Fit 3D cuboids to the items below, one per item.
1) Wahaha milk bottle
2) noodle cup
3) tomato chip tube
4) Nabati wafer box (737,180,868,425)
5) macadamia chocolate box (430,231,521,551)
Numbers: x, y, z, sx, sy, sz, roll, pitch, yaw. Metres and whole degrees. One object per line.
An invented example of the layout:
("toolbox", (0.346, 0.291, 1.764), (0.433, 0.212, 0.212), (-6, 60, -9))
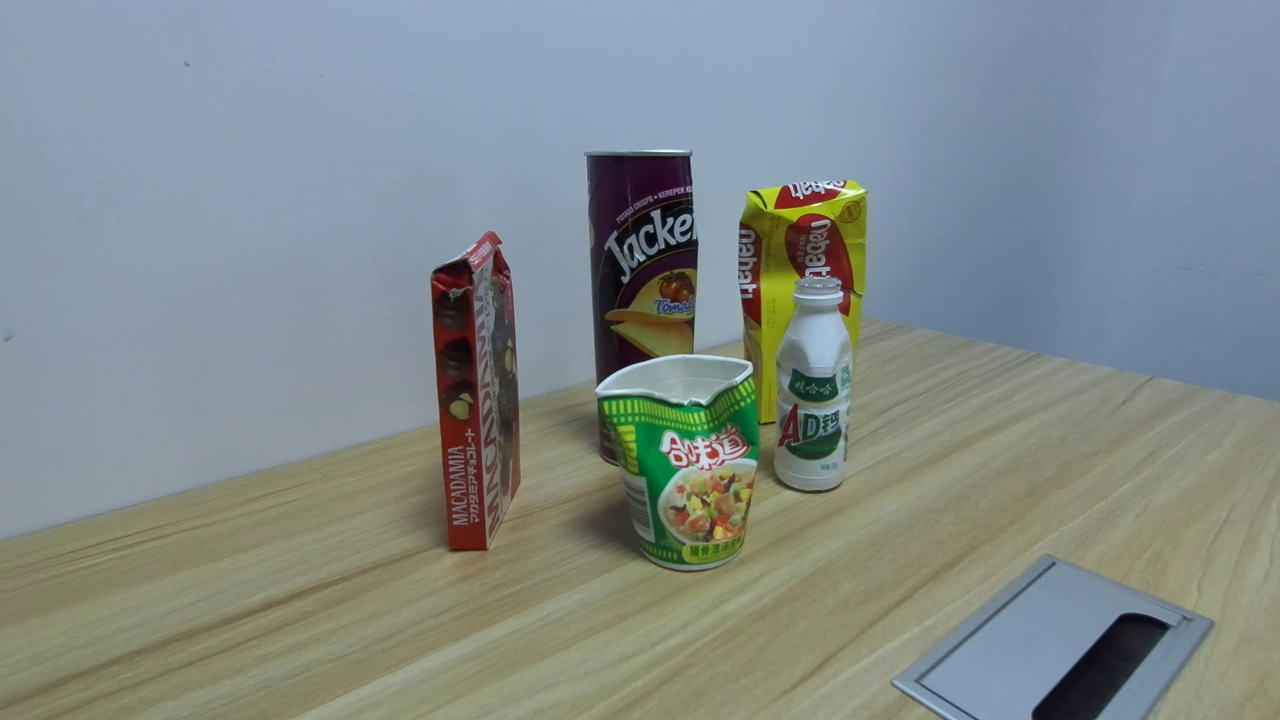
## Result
("Wahaha milk bottle", (0.121, 0.017, 0.496), (0.055, 0.149, 0.055), (-1, 19, 1))
("noodle cup", (0.032, 0.061, 0.433), (0.082, 0.122, 0.075), (-6, 9, 17))
("tomato chip tube", (0.003, -0.038, 0.543), (0.076, 0.235, 0.077), (-3, 15, -6))
("Nabati wafer box", (0.137, -0.048, 0.608), (0.107, 0.204, 0.042), (-5, 20, -14))
("macadamia chocolate box", (-0.102, 0.017, 0.461), (0.027, 0.187, 0.102), (3, 19, 3))
